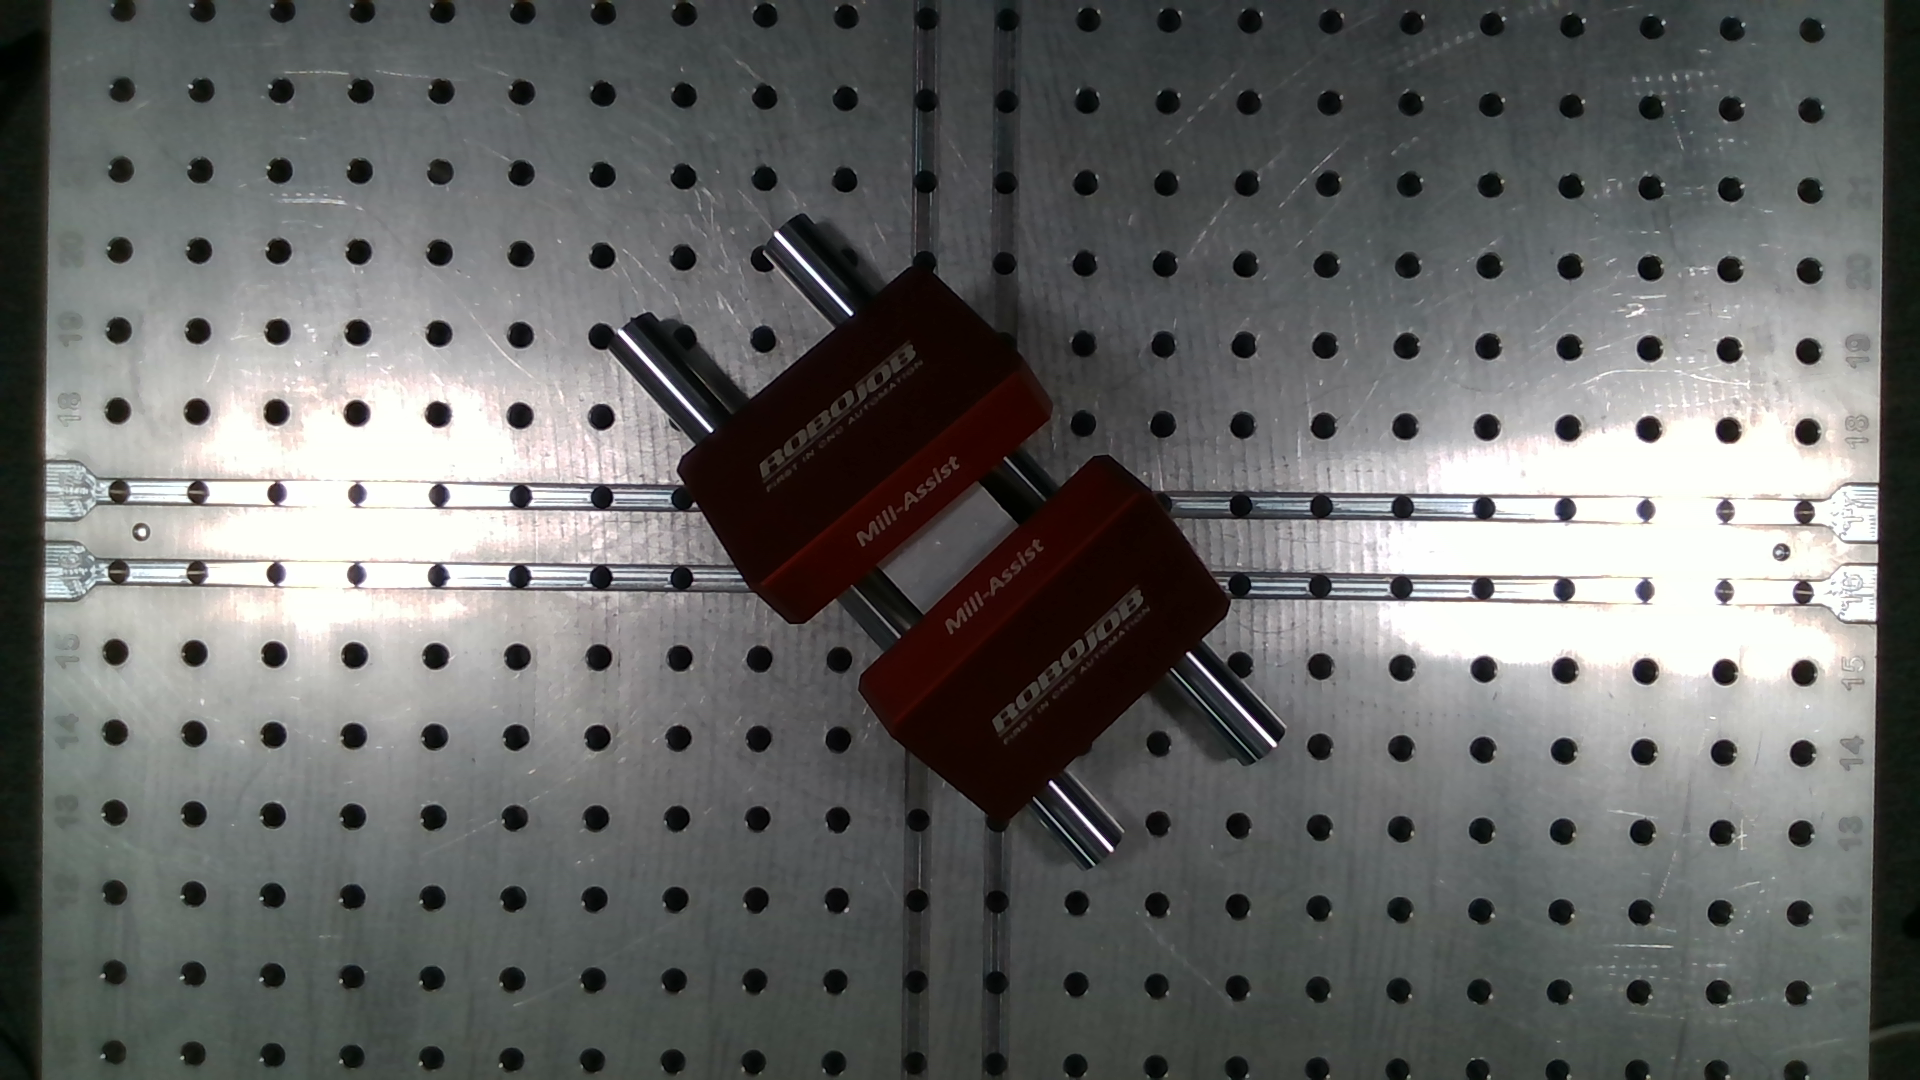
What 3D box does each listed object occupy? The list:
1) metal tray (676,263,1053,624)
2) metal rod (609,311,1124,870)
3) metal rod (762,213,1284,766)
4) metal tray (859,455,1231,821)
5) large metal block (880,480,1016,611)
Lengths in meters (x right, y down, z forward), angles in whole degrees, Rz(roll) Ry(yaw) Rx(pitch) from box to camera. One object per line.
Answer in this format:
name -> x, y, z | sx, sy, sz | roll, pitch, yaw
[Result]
metal tray -> -0.039, -0.040, 0.535 | 0.130, 0.030, 0.090 | -40, 47, 0
metal rod -> -0.040, 0.022, 0.590 | 0.025, 0.025, 0.300 | -42, 90, 0
metal rod -> 0.027, -0.021, 0.589 | 0.025, 0.025, 0.300 | -43, 90, 0
metal tray -> 0.035, 0.041, 0.535 | 0.130, 0.030, 0.090 | -43, 134, 0
large metal block -> 0.000, 0.007, 0.561 | 0.050, 0.080, 0.080 | -42, 90, 0
